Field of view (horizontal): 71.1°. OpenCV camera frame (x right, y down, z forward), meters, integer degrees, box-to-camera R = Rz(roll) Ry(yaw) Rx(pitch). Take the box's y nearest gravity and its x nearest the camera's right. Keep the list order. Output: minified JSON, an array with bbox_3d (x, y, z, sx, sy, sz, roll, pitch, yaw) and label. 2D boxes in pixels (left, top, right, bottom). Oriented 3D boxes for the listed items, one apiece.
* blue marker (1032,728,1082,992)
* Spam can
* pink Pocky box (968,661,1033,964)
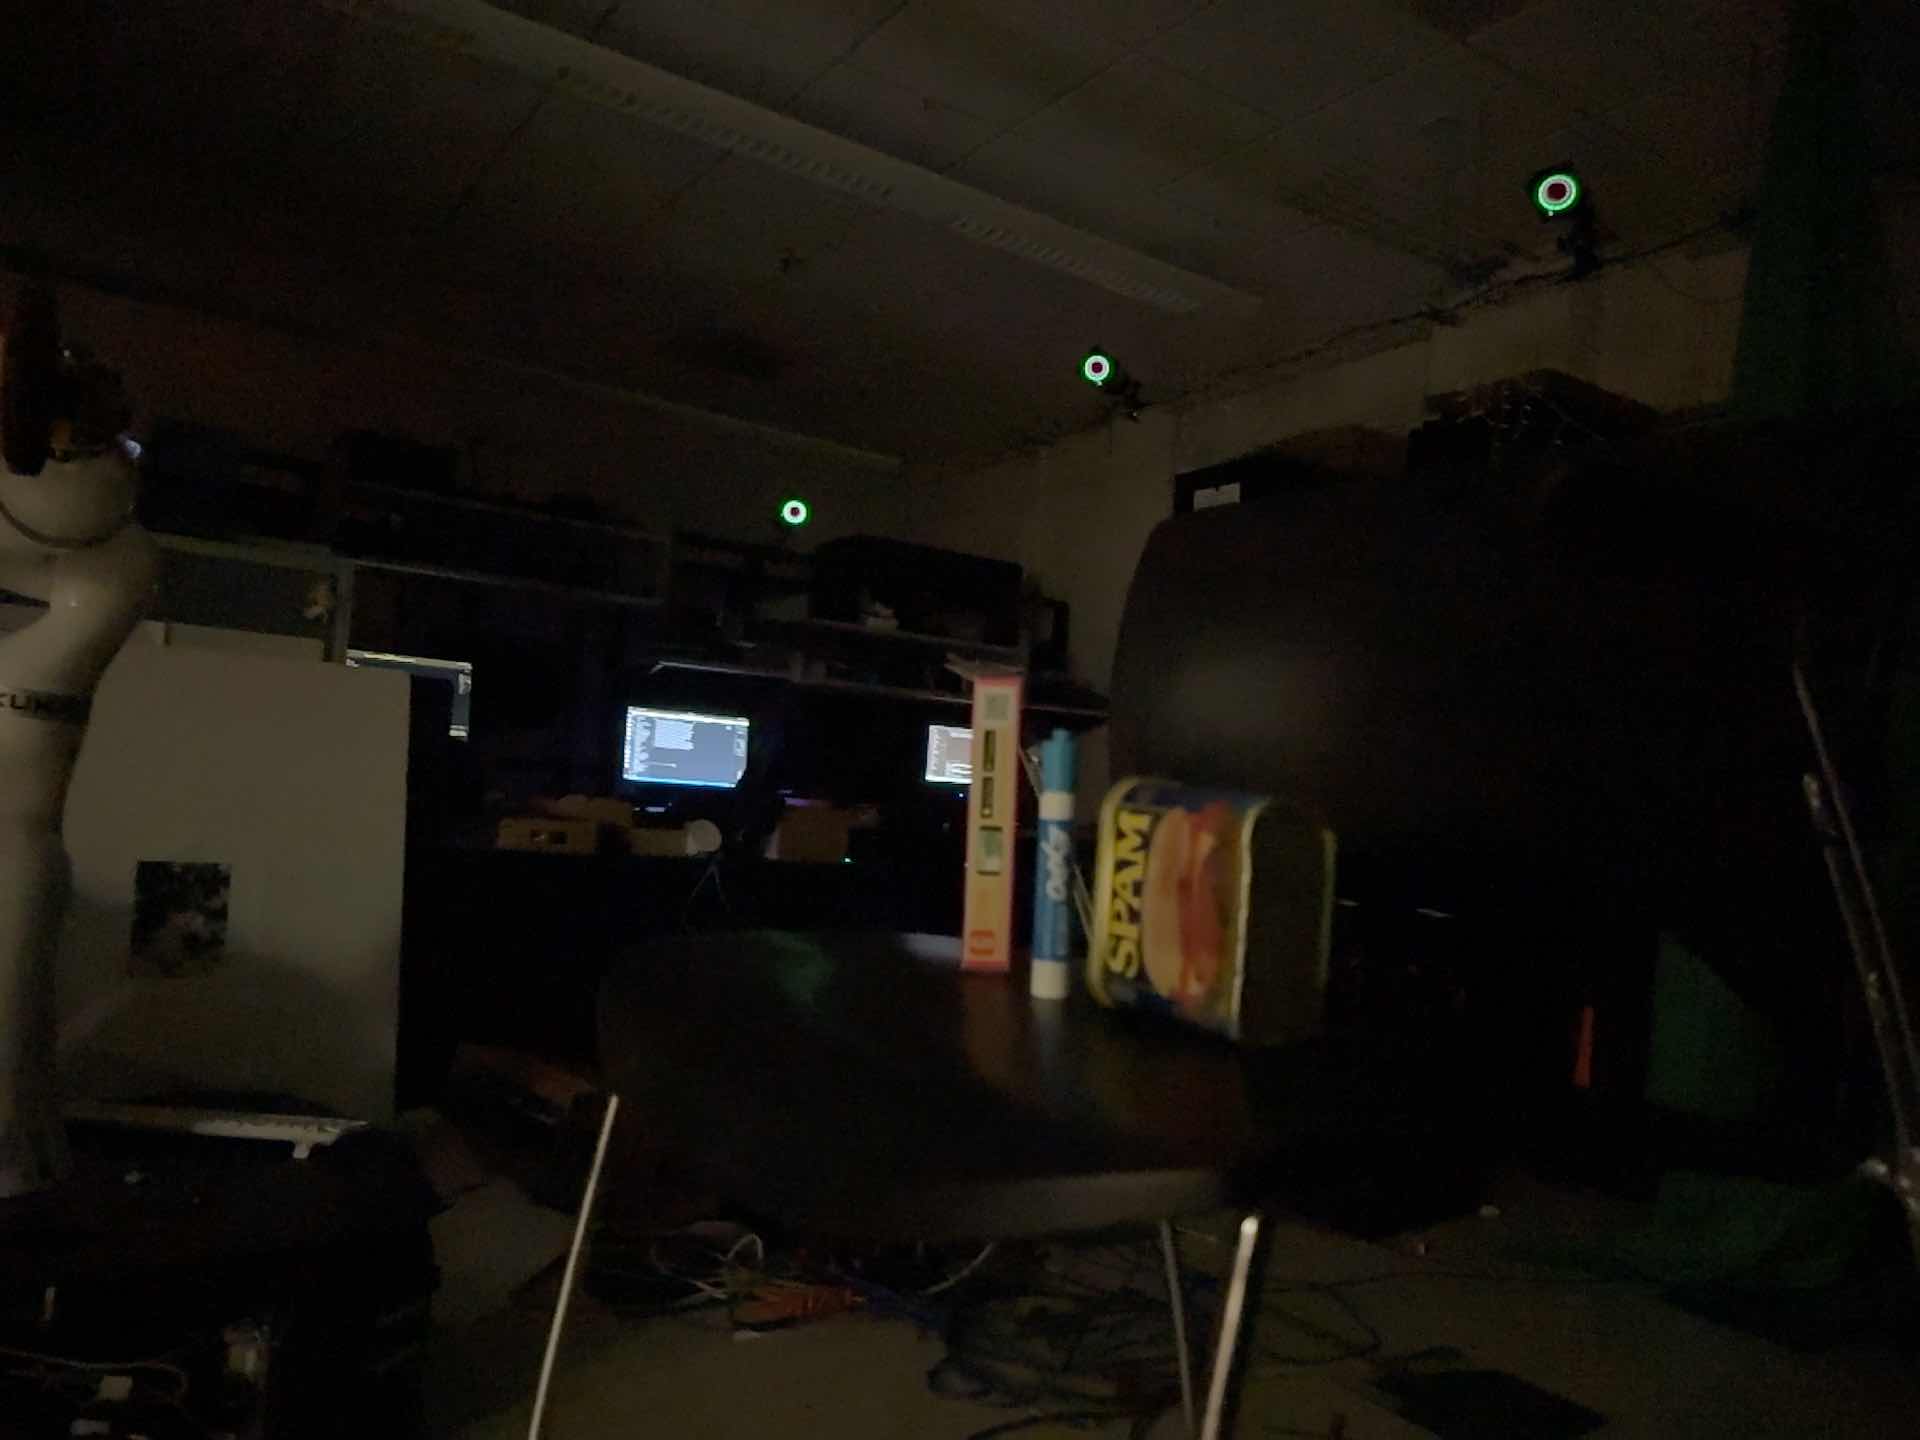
[{"bbox_3d":[0.045,0.064,0.624,0.020,0.121,0.020,2,-1,0],"label":"blue marker"},{"bbox_3d":[0.104,0.073,0.562,0.056,0.100,0.083,5,0,-40],"label":"Spam can"},{"bbox_3d":[0.021,0.049,0.727,0.029,0.155,0.084,2,-3,2],"label":"pink Pocky box"}]
